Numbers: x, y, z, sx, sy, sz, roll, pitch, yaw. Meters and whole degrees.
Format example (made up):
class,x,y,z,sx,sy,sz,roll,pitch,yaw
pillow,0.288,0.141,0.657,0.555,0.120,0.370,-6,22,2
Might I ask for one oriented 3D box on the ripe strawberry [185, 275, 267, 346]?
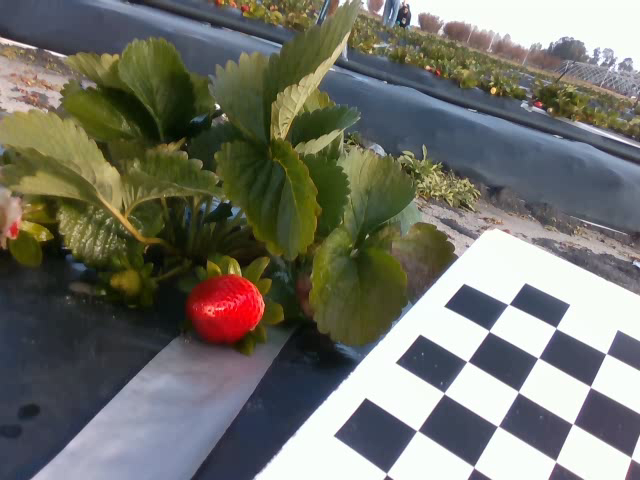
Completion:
class,x,y,z,sx,sy,sz,roll,pitch,yaw
ripe strawberry,-0.044,0.029,0.274,0.050,0.035,0.055,30,23,15
